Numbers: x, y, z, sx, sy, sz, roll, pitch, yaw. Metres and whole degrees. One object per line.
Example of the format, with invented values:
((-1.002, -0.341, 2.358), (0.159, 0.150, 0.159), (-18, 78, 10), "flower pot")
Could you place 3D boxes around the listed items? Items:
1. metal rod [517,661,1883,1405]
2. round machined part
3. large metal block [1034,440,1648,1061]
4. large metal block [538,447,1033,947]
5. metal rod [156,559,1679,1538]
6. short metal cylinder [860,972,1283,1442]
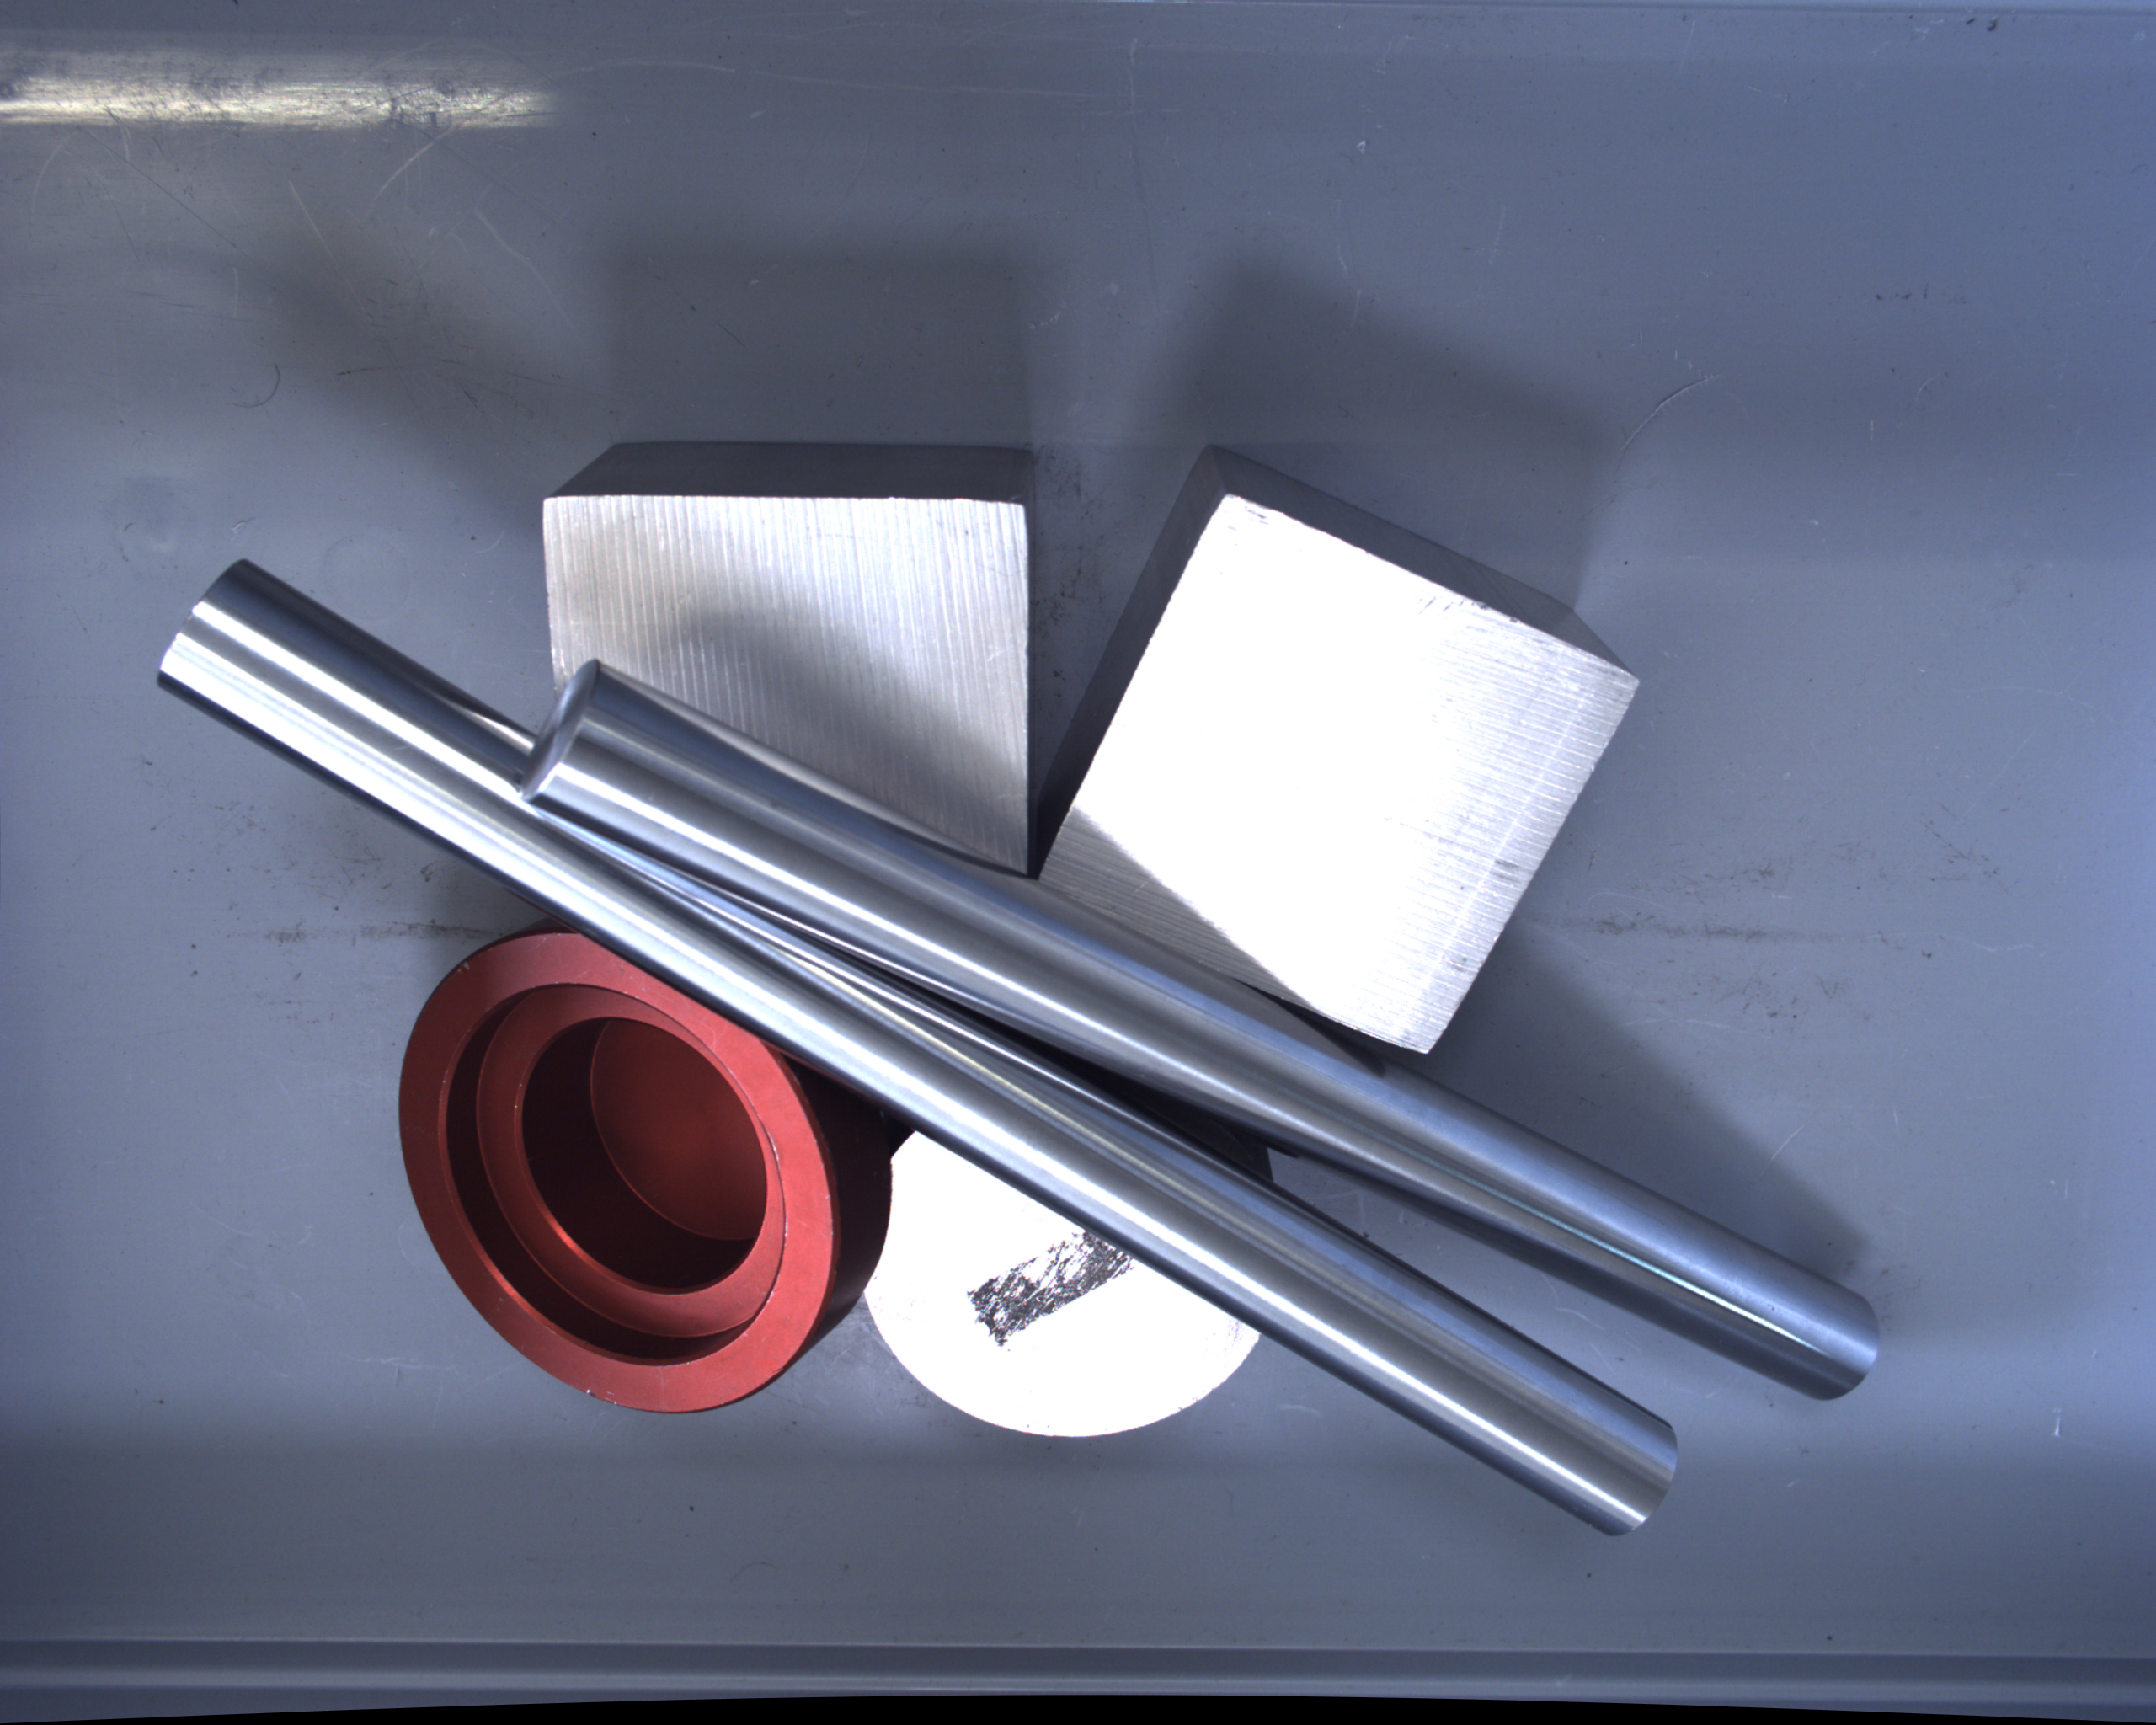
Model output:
((0.041, 0.042, 0.385), (0.301, 0.025, 0.025), (27, 108, -25), "metal rod")
((-0.080, 0.053, 0.407), (0.098, 0.042, 0.097), (7, 108, 22), "round machined part")
((0.044, -0.022, 0.387), (0.080, 0.050, 0.080), (23, 108, -9), "large metal block")
((-0.049, -0.031, 0.381), (0.081, 0.050, 0.079), (1, 110, -1), "large metal block")
((-0.017, 0.040, 0.369), (0.301, 0.025, 0.025), (32, 107, -13), "metal rod")
((-0.001, 0.068, 0.420), (0.081, 0.050, 0.079), (0, 110, 0), "short metal cylinder")
